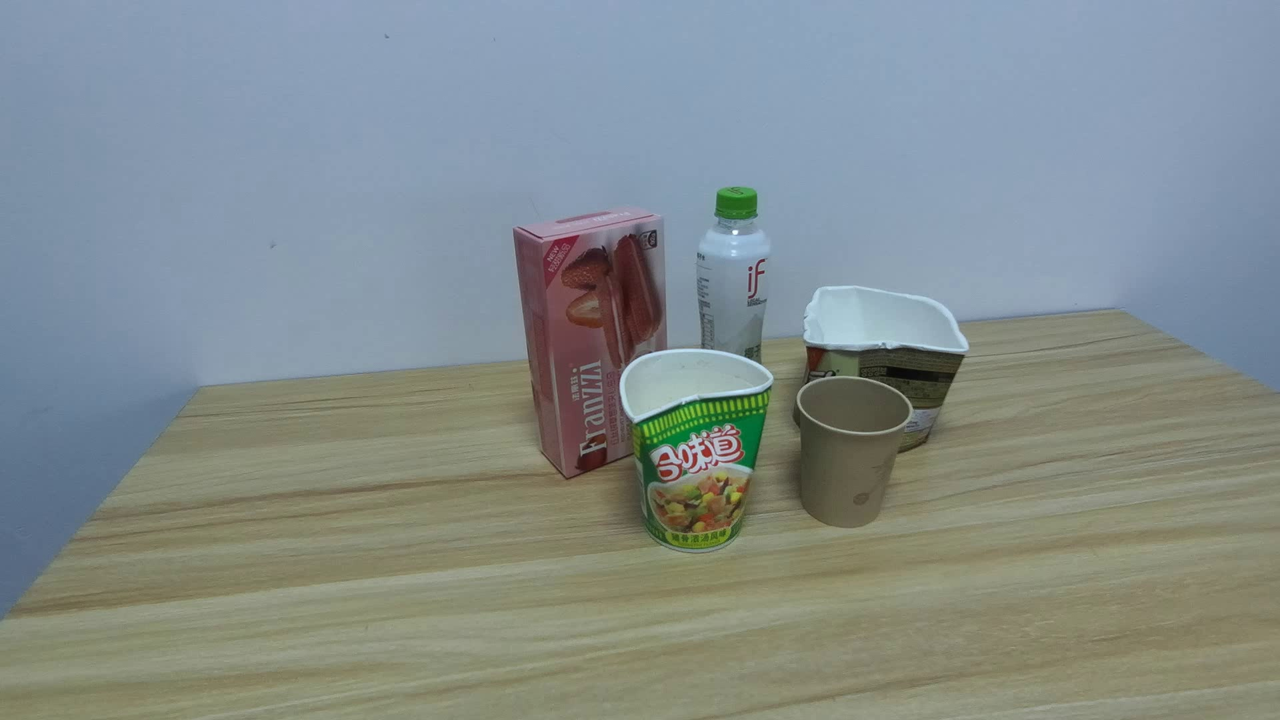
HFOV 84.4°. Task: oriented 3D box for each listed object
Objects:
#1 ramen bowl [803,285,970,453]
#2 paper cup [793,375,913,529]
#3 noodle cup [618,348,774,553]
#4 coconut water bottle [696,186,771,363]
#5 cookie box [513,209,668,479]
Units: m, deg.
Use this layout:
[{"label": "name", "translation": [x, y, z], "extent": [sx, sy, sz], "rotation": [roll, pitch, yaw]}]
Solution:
[{"label": "ramen bowl", "translation": [0.184, 0.001, 0.580], "extent": [0.113, 0.098, 0.133], "rotation": [-2, 28, 5]}, {"label": "paper cup", "translation": [0.139, 0.064, 0.475], "extent": [0.075, 0.082, 0.075], "rotation": [-1, 28, 1]}, {"label": "noodle cup", "translation": [0.037, 0.059, 0.463], "extent": [0.094, 0.109, 0.087], "rotation": [-2, 28, 1]}, {"label": "coconut water bottle", "translation": [0.074, -0.040, 0.565], "extent": [0.063, 0.189, 0.063], "rotation": [-1, 24, 1]}, {"label": "cookie box", "translation": [-0.030, -0.012, 0.528], "extent": [0.096, 0.185, 0.048], "rotation": [-17, 28, -27]}]
